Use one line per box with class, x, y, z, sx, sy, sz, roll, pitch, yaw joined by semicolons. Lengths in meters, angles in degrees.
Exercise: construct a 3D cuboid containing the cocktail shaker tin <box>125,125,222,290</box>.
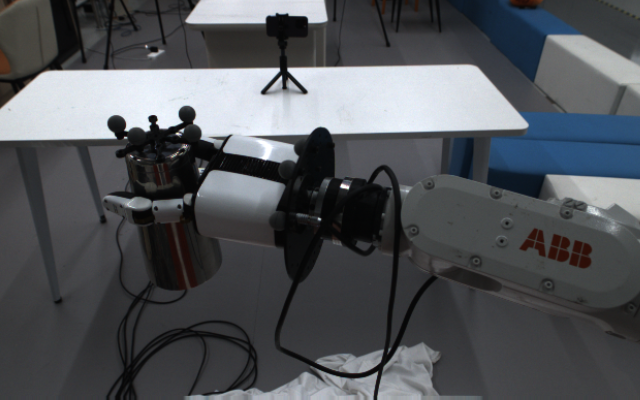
cocktail shaker tin;-0.162;0.008;0.546;0.093;0.170;0.093;1;39;-1
